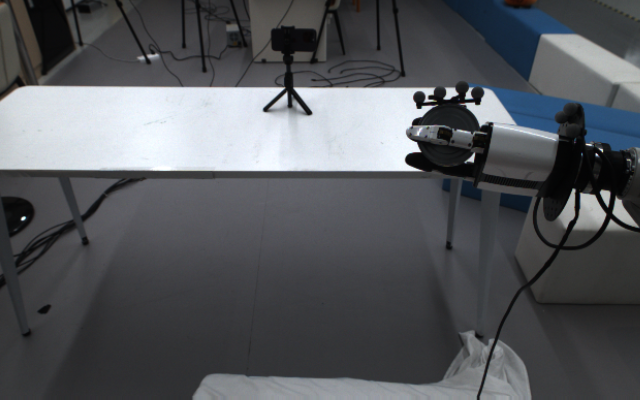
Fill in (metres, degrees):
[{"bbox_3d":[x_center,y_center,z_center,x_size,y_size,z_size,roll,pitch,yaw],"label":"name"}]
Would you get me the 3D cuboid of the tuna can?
[{"bbox_3d":[0.181,-0.091,0.685,0.085,0.085,0.034,15,2,18],"label":"tuna can"}]
